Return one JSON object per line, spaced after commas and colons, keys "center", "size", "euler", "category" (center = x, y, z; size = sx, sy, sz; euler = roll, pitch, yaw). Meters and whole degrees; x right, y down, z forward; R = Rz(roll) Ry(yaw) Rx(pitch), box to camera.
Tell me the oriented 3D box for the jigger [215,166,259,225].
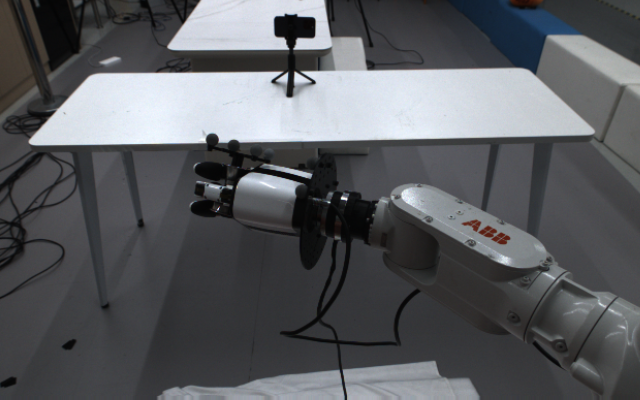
{"center": [-0.122, -0.014, 0.681], "size": [0.043, 0.071, 0.043], "euler": [14, 1, 0], "category": "jigger"}
